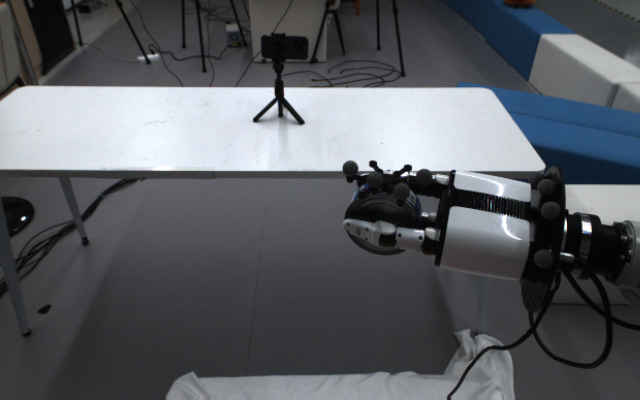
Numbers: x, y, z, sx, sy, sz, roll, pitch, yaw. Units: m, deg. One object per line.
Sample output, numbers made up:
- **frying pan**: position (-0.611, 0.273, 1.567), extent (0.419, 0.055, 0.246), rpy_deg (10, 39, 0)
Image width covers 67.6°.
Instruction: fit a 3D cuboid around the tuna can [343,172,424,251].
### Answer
- **tuna can**: position (0.075, 0.017, 0.555), extent (0.085, 0.085, 0.034), rpy_deg (10, 34, 11)
